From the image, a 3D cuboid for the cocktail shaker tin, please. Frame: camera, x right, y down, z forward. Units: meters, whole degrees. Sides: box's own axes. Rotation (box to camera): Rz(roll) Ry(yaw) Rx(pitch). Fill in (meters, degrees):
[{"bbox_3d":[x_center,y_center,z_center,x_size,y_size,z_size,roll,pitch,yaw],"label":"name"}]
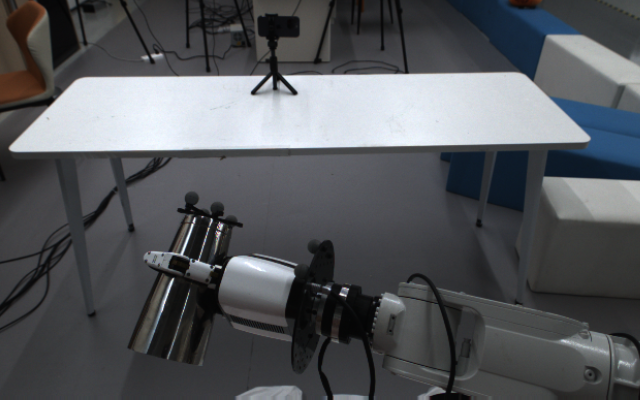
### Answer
[{"bbox_3d":[-0.165,0.110,0.604,0.093,0.093,0.170,10,71,11],"label":"cocktail shaker tin"}]
